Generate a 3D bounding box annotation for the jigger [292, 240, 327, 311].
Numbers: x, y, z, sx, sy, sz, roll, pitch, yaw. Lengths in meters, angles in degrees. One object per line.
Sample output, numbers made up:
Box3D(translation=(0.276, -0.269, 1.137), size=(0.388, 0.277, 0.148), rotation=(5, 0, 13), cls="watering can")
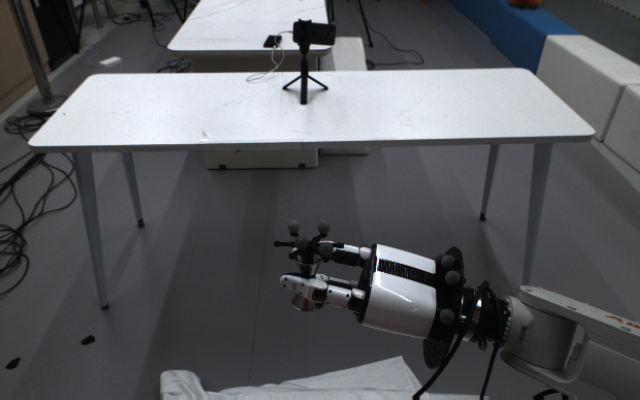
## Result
Box3D(translation=(-0.016, 0.103, 0.636), size=(0.043, 0.071, 0.043), rotation=(1, 20, 0), cls="jigger")
